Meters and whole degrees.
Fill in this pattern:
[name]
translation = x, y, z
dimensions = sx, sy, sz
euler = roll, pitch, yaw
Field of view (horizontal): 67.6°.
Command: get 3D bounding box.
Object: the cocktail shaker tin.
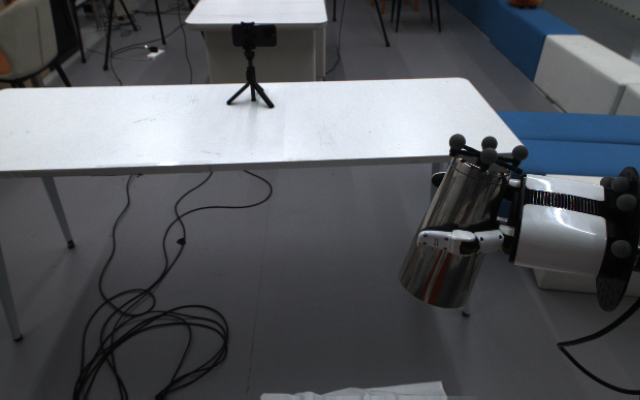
[cocktail shaker tin]
translation = 0.166, 0.031, 0.581
dimensions = 0.093, 0.170, 0.093
euler = 12, 24, -5
